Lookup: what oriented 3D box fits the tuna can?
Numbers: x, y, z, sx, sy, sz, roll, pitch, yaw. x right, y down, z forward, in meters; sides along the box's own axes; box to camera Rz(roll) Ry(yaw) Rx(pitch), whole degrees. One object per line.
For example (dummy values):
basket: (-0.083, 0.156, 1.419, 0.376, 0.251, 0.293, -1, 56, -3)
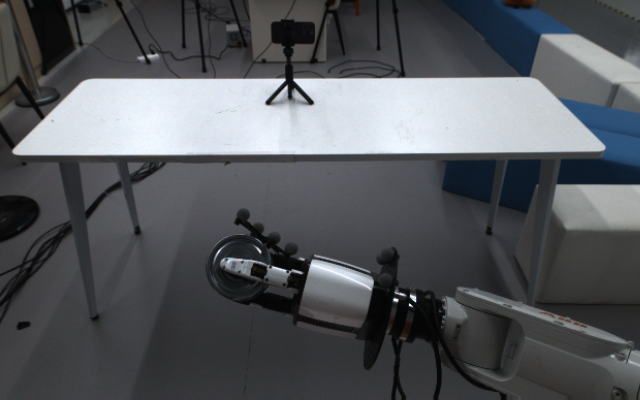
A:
tuna can: (-0.099, 0.094, 0.626, 0.085, 0.034, 0.085, 0, 73, -1)
